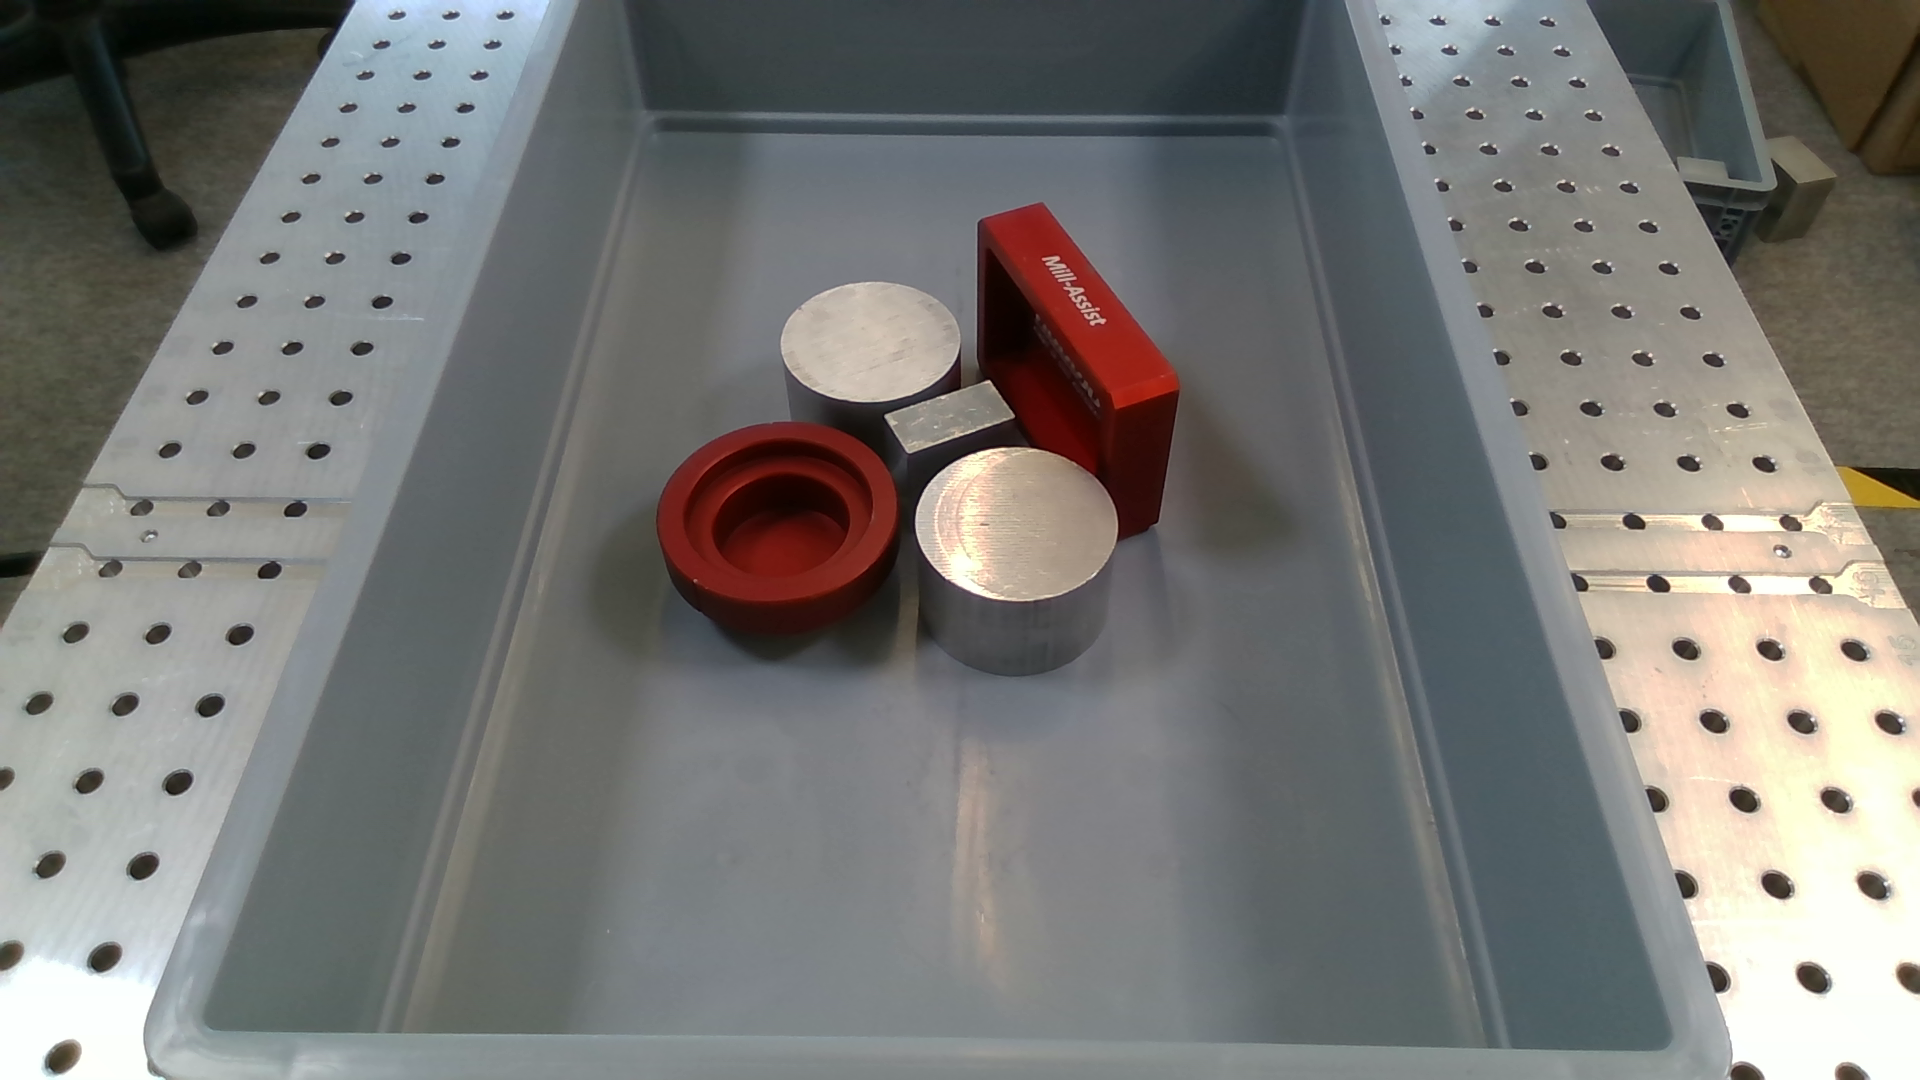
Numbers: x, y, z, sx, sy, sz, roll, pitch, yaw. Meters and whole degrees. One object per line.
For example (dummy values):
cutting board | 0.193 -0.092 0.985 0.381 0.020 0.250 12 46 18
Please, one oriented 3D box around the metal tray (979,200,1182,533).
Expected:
metal tray | 0.048 -0.075 0.605 0.030 0.090 0.130 -19 52 -15

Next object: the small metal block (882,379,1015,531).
small metal block | -0.005 -0.037 0.599 0.050 0.050 0.025 -20 53 -16

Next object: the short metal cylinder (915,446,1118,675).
short metal cylinder | 0.022 0.008 0.563 0.080 0.050 0.080 0 50 0

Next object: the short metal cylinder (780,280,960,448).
short metal cylinder | -0.040 -0.073 0.630 0.080 0.050 0.080 0 50 0

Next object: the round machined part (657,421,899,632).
round machined part | -0.074 -0.001 0.575 0.098 0.042 0.098 0 50 0
